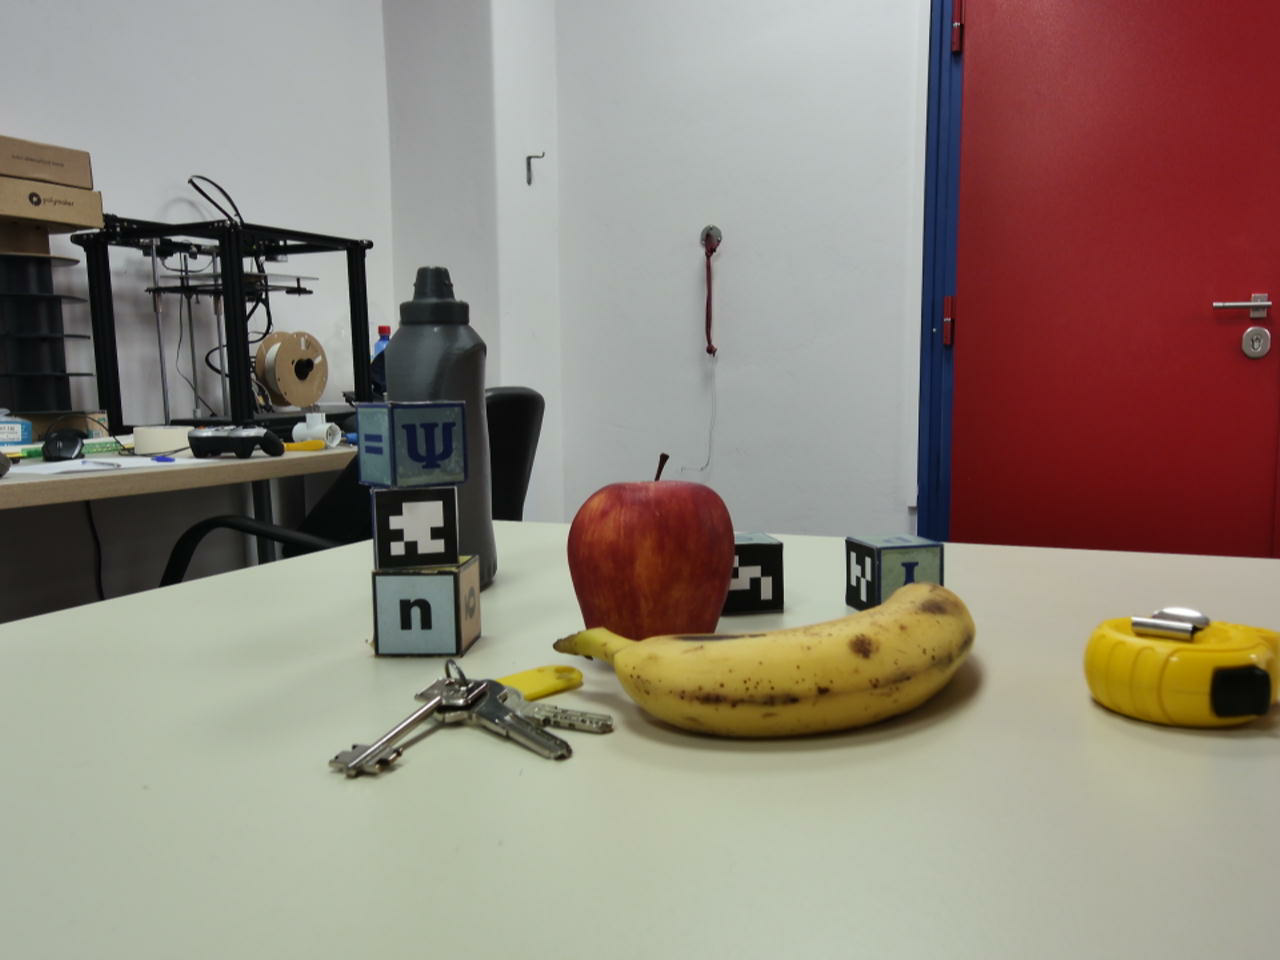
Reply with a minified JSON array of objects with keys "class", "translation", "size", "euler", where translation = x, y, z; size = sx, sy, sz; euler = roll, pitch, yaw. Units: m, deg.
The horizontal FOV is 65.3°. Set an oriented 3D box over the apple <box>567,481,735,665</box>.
[{"class":"apple","translation":[0.005,0.033,0.452],"size":[0.083,0.090,0.083],"euler":[-1,3,0]}]
